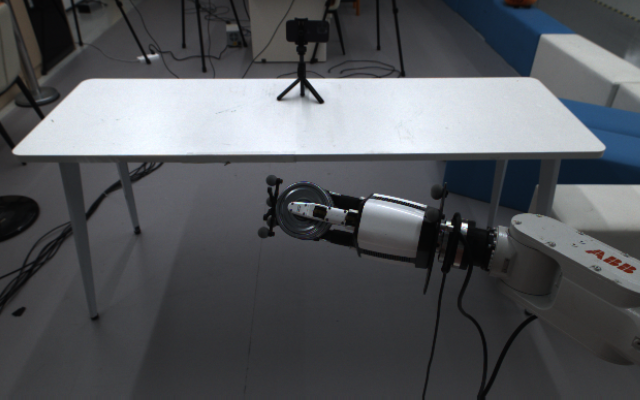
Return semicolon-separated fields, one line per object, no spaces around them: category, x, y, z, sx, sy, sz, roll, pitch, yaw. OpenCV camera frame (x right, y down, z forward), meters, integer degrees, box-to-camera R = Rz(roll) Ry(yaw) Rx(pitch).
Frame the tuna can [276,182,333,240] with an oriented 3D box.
tuna can;-0.020;0.015;0.718;0.085;0.085;0.034;9;-6;10
